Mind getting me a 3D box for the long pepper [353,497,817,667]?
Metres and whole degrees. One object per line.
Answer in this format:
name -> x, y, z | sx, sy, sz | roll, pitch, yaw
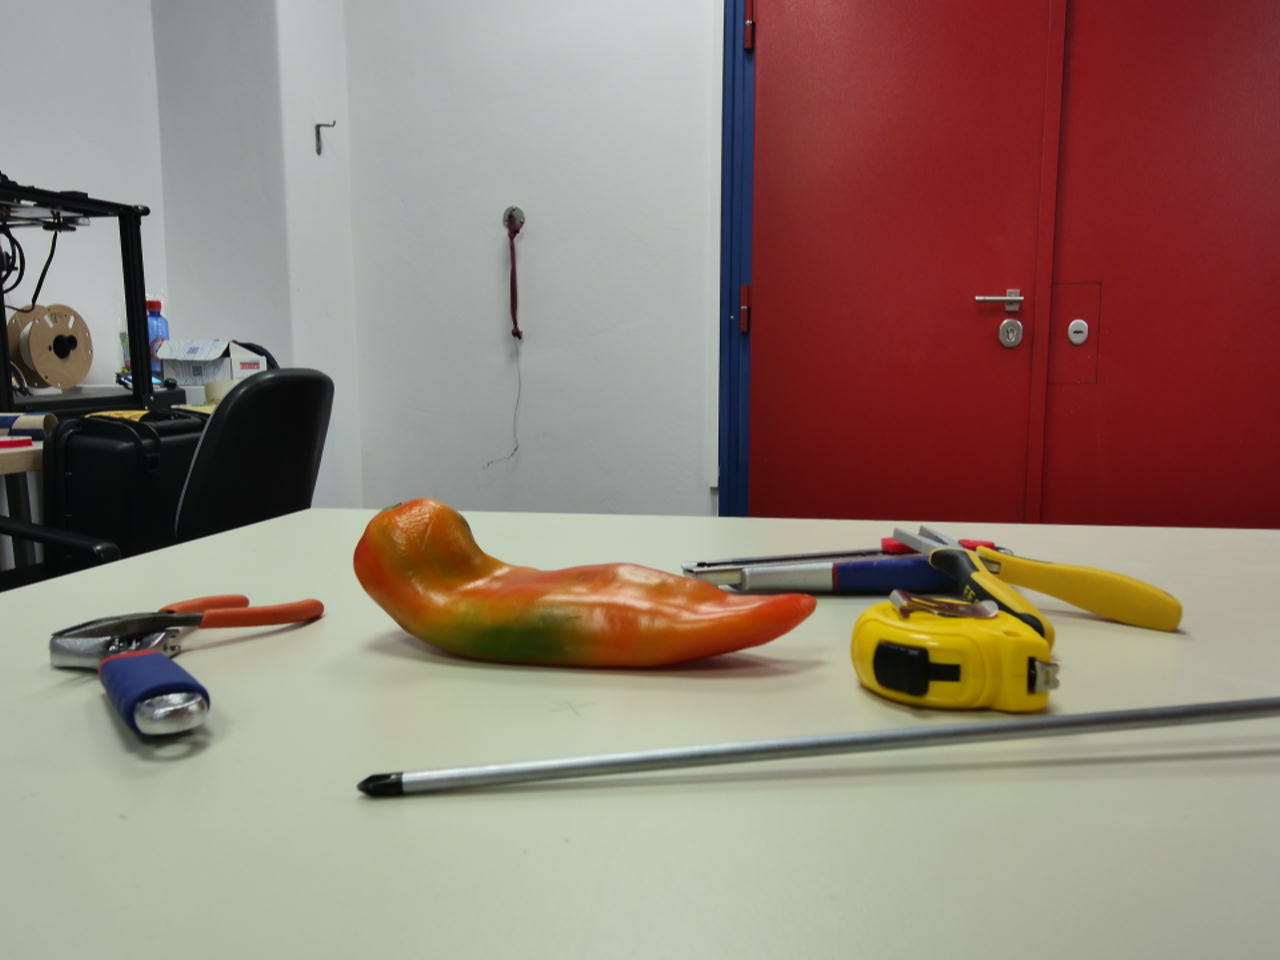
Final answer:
long pepper -> -0.027, 0.042, 0.418 | 0.199, 0.065, 0.066 | 1, 4, 18
